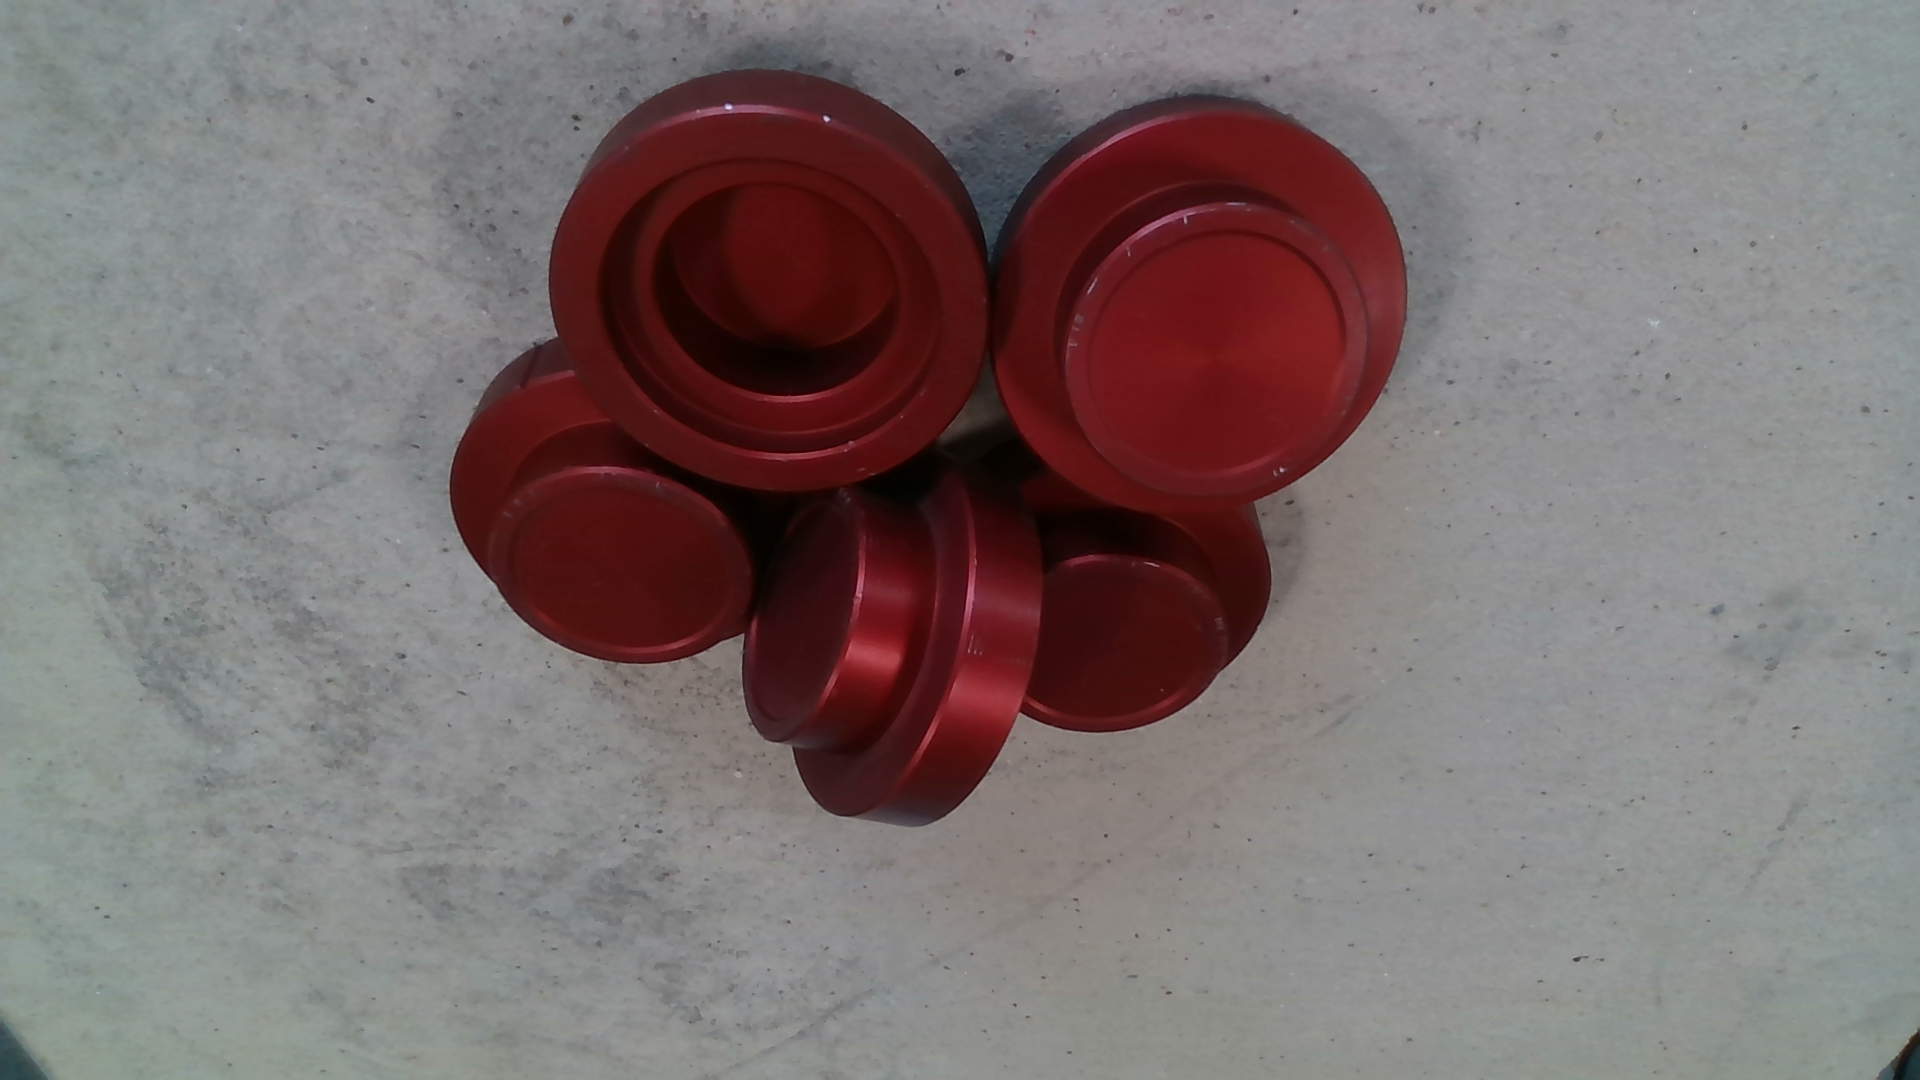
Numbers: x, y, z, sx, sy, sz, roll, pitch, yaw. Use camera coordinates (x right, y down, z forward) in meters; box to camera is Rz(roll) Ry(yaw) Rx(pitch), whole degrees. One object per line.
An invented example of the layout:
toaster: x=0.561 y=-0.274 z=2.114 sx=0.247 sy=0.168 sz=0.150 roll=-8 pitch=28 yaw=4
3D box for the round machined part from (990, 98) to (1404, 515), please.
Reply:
round machined part: x=0.055 y=-0.050 z=0.322 sx=0.098 sy=0.042 sz=0.098 roll=-1 pitch=117 yaw=-2

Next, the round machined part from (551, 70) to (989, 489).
round machined part: x=-0.042 y=-0.063 z=0.325 sx=0.098 sy=0.042 sz=0.098 roll=1 pitch=130 yaw=1

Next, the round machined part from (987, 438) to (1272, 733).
round machined part: x=0.040 y=0.017 z=0.392 sx=0.098 sy=0.042 sz=0.098 roll=-1 pitch=131 yaw=-1

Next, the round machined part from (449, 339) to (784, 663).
round machined part: x=-0.088 y=-0.005 z=0.374 sx=0.098 sy=0.042 sz=0.098 roll=-1 pitch=131 yaw=-1

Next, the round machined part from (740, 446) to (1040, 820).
round machined part: x=-0.024 y=0.022 z=0.356 sx=0.042 sy=0.098 sz=0.098 roll=14 pitch=130 yaw=-29
